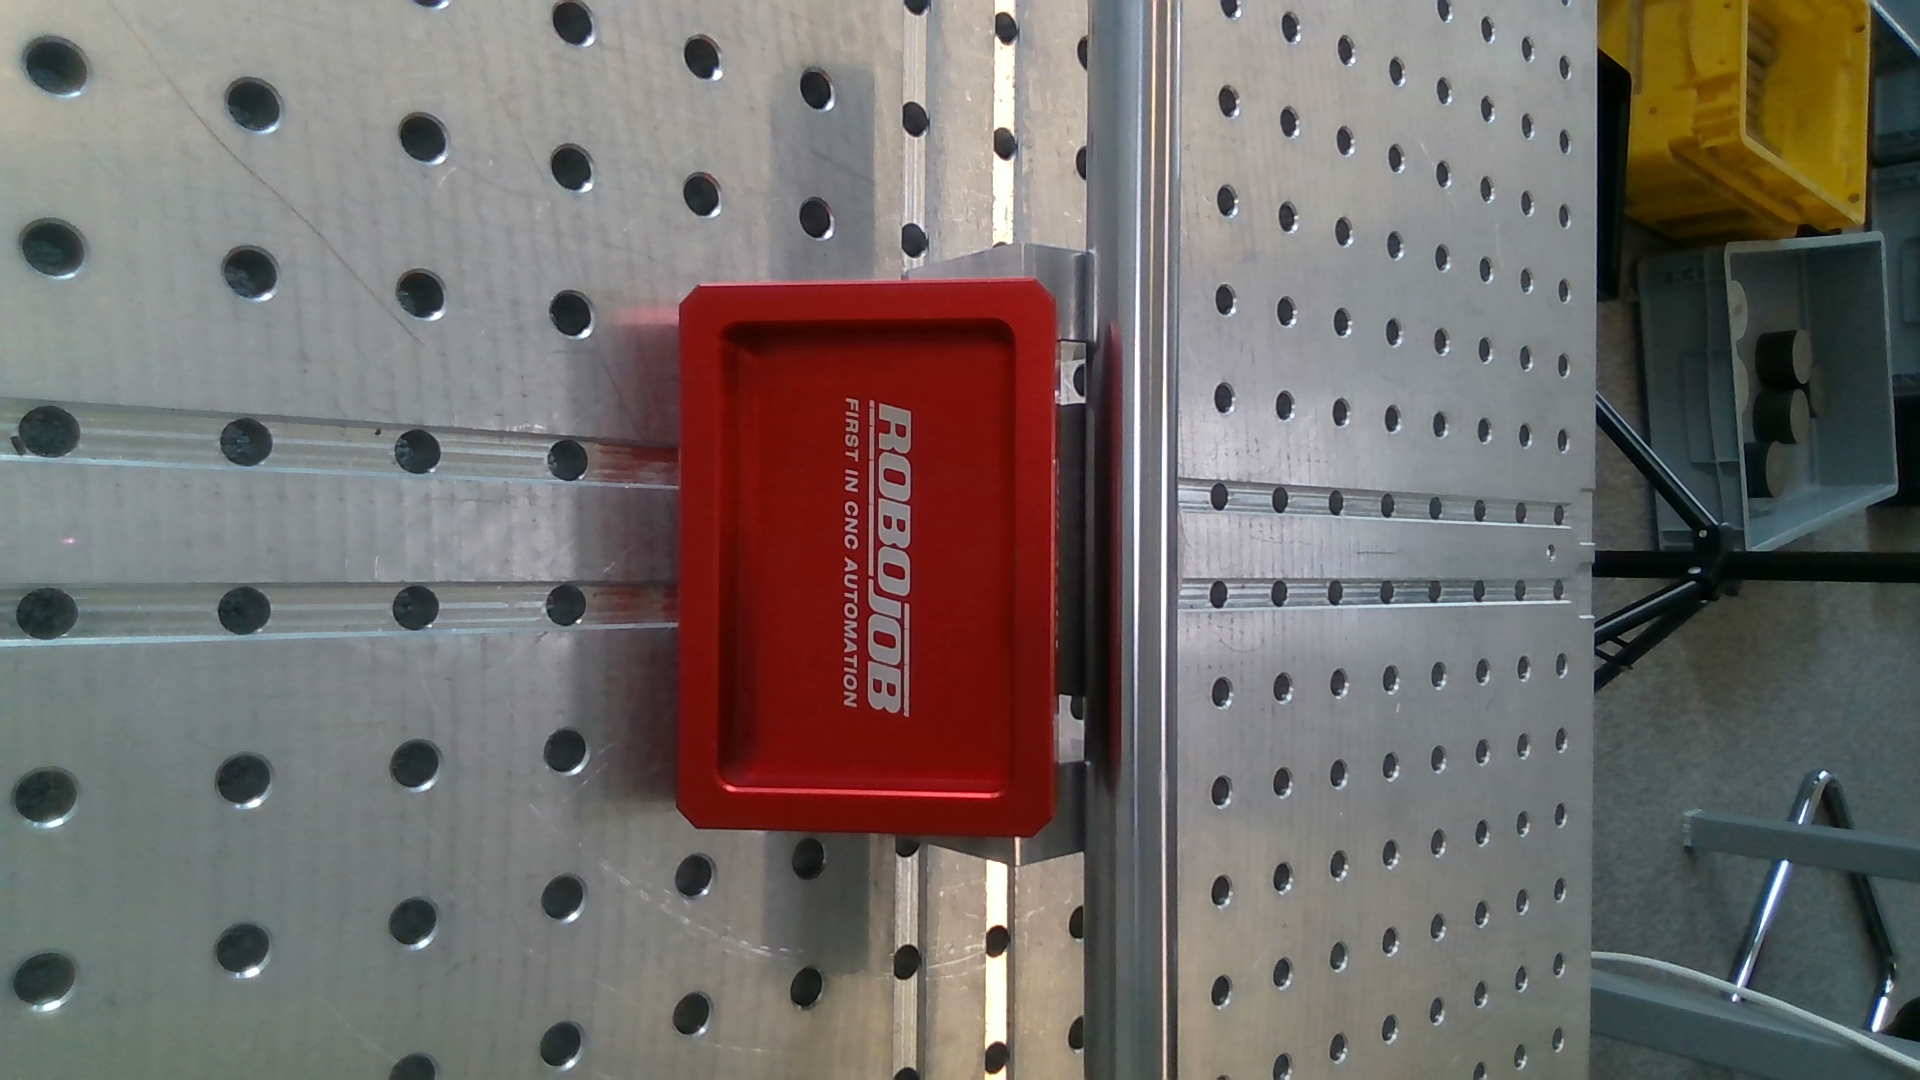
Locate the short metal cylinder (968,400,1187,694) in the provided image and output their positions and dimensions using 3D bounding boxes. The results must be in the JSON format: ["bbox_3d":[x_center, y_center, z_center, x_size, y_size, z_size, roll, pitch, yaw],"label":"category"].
[{"bbox_3d":[0.019,0.002,0.394,0.080,0.050,0.080,0,90,-40],"label":"short metal cylinder"}]

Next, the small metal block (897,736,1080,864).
[{"bbox_3d":[0.017,0.072,0.393,0.050,0.050,0.025,-1,91,-40],"label":"small metal block"}]

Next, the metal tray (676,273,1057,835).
[{"bbox_3d":[-0.021,0.003,0.337,0.030,0.090,0.130,1,89,-83],"label":"metal tray"}]

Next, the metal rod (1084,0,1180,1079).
[{"bbox_3d":[0.046,-0.009,0.368,0.025,0.025,0.300,1,89,-40],"label":"metal rod"}]

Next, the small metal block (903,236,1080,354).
[{"bbox_3d":[0.019,-0.067,0.394,0.050,0.050,0.025,-1,91,-40],"label":"small metal block"}]
